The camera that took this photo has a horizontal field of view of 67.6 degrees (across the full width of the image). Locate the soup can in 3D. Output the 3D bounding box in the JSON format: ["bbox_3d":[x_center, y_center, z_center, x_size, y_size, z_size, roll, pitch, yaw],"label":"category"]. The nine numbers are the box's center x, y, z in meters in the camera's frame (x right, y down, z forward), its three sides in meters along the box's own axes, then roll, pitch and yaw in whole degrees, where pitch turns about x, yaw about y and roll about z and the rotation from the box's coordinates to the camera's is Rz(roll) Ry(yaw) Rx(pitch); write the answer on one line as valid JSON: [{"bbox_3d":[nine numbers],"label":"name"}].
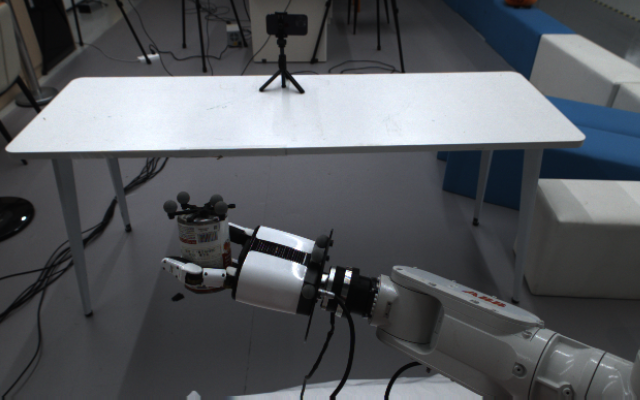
[{"bbox_3d":[-0.154,0.068,0.655,0.067,0.101,0.067,-1,16,0],"label":"soup can"}]
